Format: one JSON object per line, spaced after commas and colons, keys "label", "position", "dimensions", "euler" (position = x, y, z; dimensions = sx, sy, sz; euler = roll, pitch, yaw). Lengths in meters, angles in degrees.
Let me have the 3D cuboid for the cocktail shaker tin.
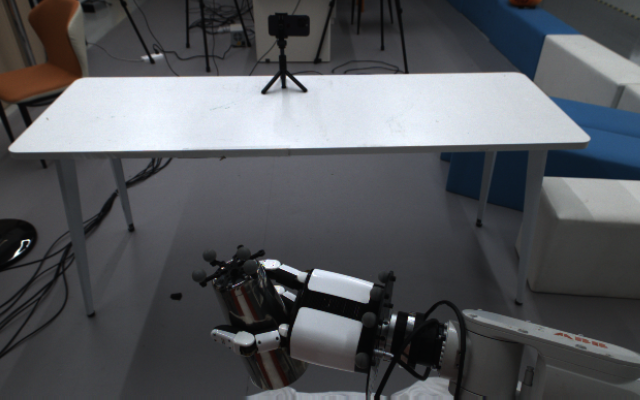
{"label": "cocktail shaker tin", "position": [-0.081, 0.160, 0.648], "dimensions": [0.093, 0.170, 0.093], "euler": [-15, 29, 9]}
